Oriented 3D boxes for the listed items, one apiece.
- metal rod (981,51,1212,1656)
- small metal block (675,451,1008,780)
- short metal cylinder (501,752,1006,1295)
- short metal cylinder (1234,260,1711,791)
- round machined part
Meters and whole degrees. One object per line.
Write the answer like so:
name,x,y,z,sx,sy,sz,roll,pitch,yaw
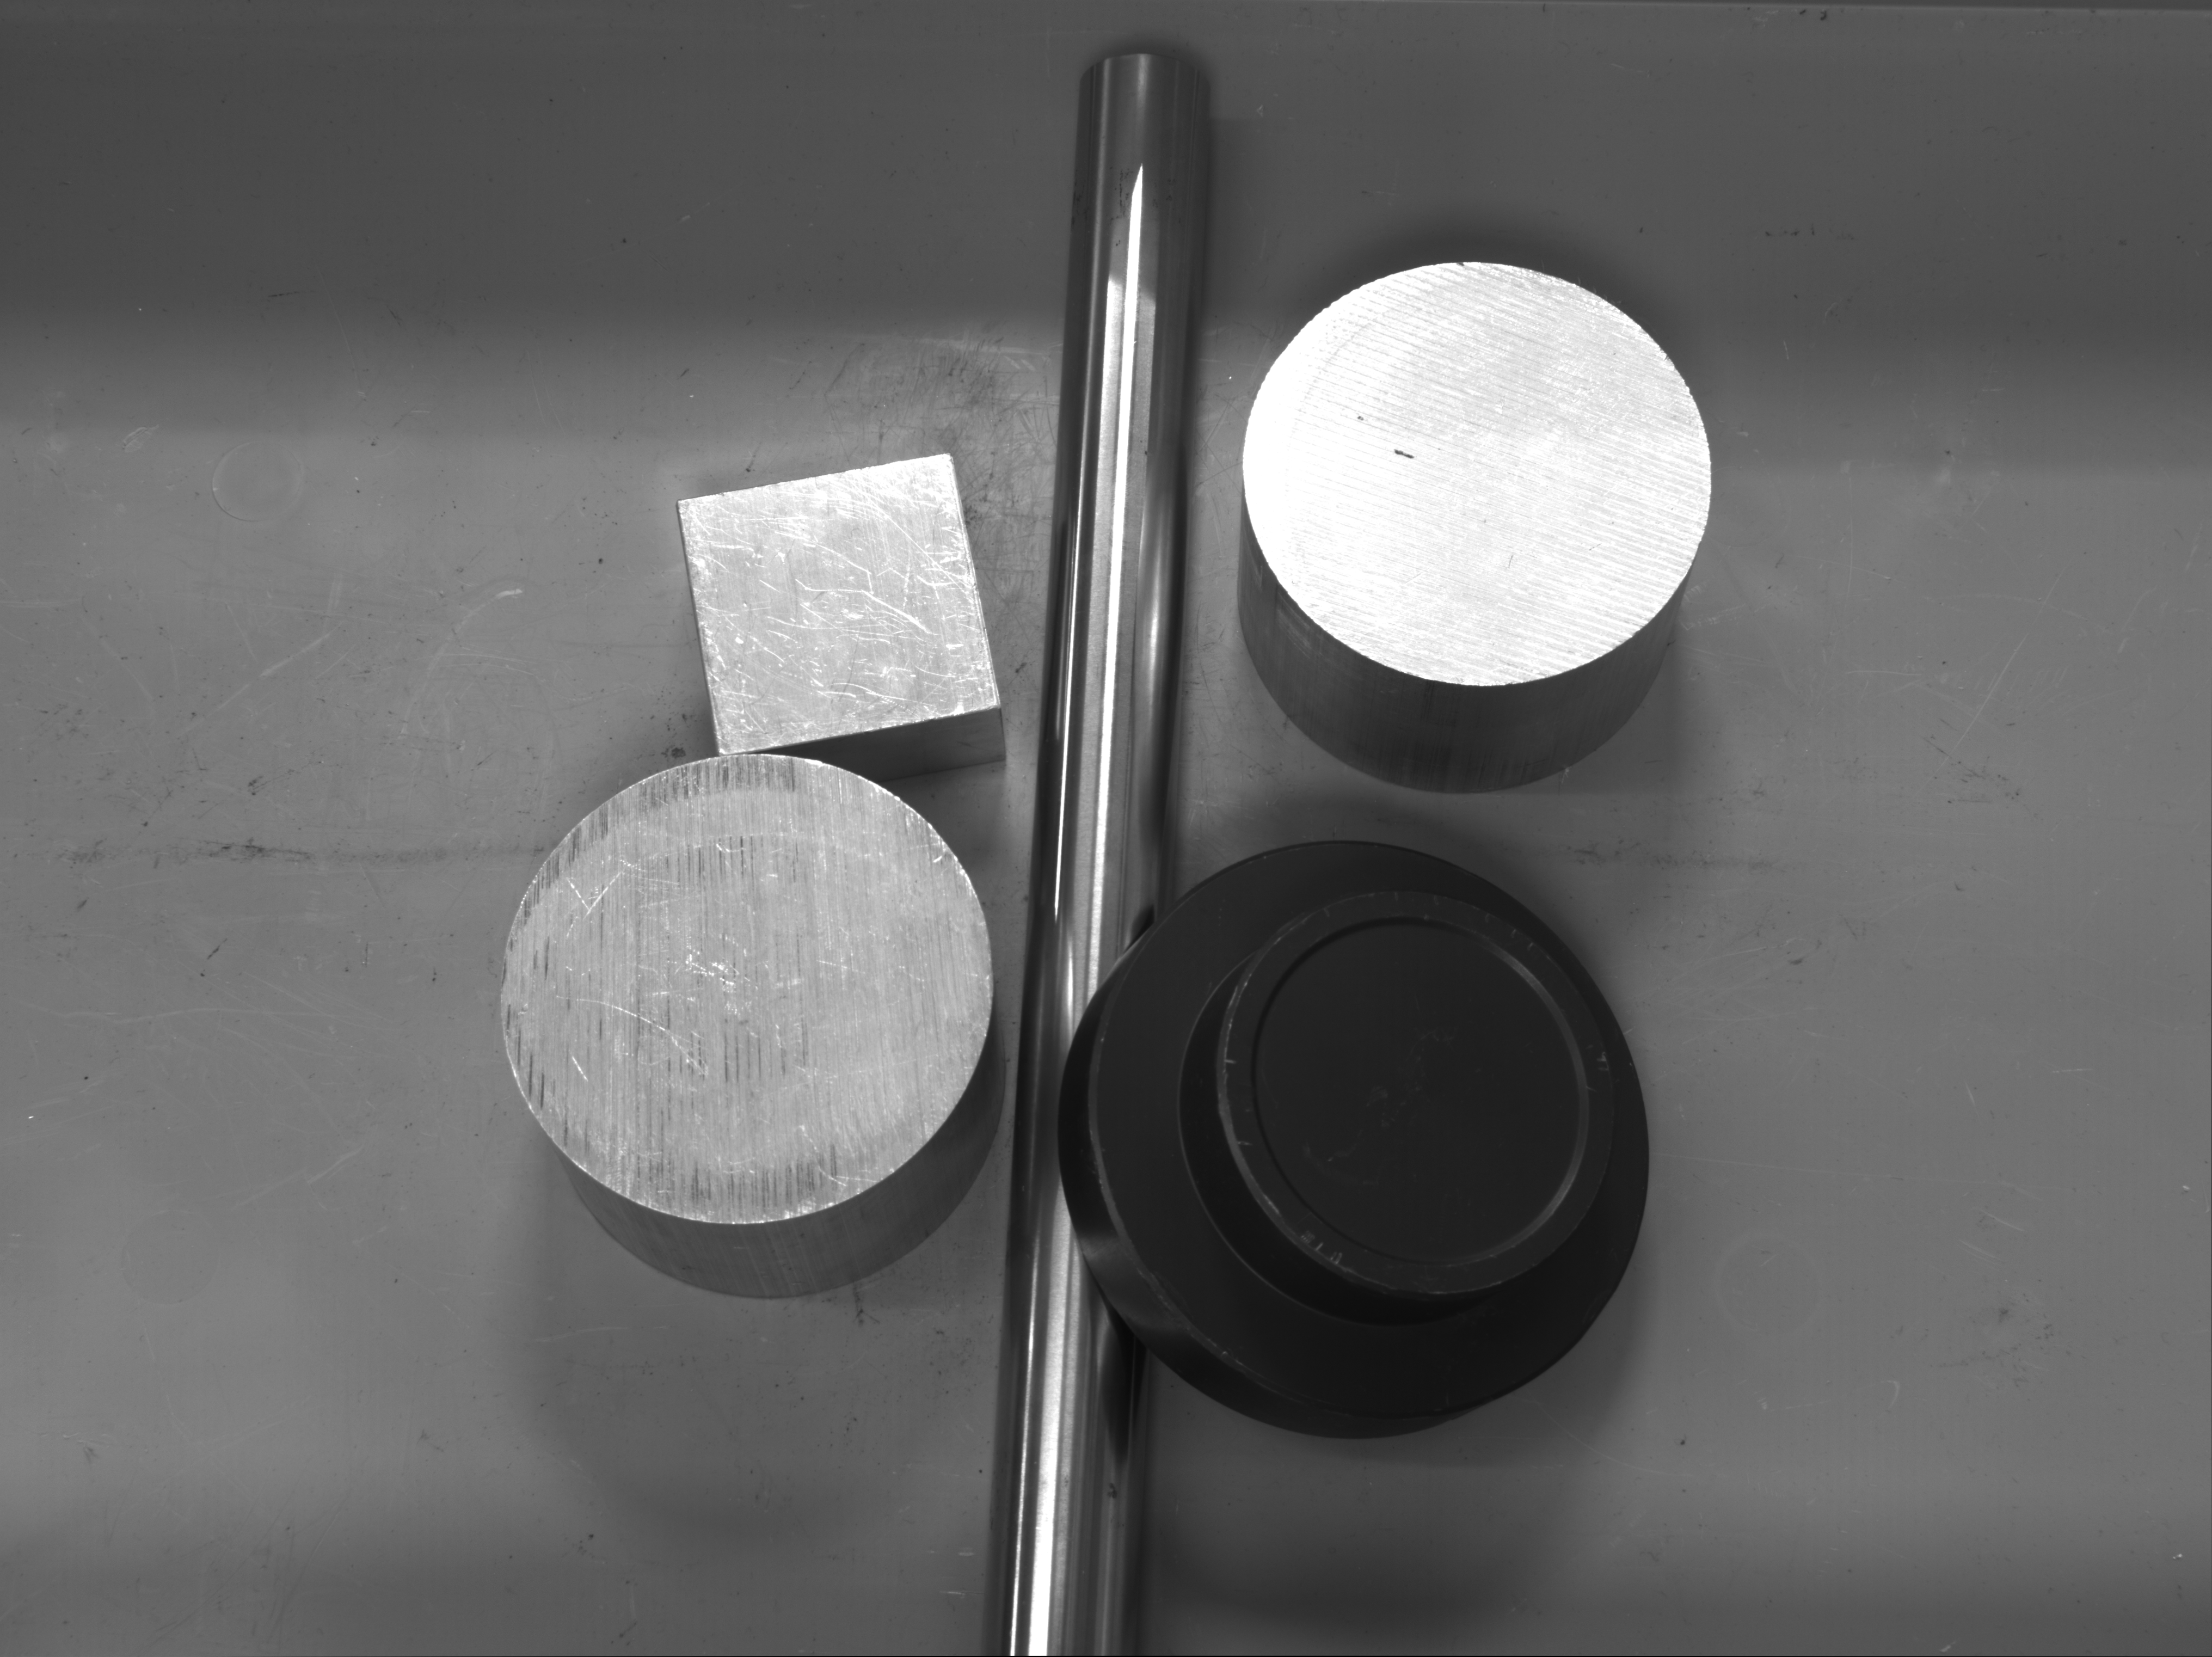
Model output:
metal rod,0.000,0.000,0.644,0.025,0.025,0.300,3,70,1
small metal block,-0.047,-0.035,0.657,0.050,0.025,0.050,-10,70,-4
short metal cylinder,-0.058,0.034,0.618,0.080,0.050,0.080,0,70,0
short metal cylinder,0.063,-0.053,0.650,0.080,0.050,0.080,0,70,0
round machined part,0.045,0.048,0.604,0.098,0.042,0.098,6,69,-15
